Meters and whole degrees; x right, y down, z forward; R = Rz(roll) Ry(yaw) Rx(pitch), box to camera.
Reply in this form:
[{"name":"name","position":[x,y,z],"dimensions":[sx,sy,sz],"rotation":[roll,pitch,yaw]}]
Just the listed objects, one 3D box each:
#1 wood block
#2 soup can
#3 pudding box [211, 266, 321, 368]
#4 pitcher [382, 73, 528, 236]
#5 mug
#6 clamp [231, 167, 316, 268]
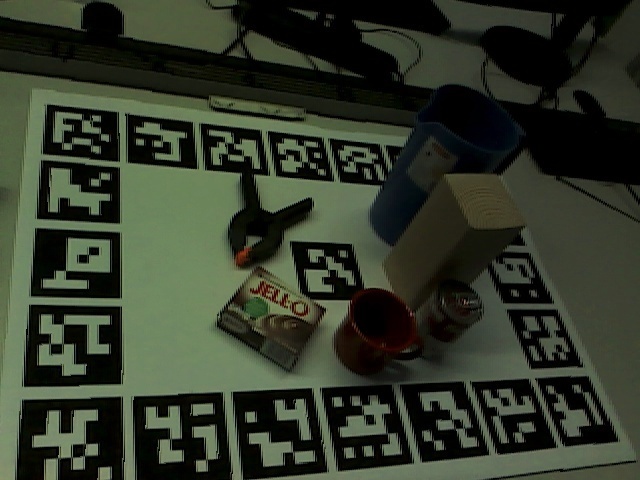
[{"name":"wood block","position":[0.180,-0.003,0.841],"dimensions":[0.089,0.206,0.091],"rotation":[0,53,-23]},{"name":"soup can","position":[0.167,0.100,0.823],"dimensions":[0.068,0.102,0.068],"rotation":[9,53,-12]},{"name":"pudding box","position":[-0.070,0.098,0.794],"dimensions":[0.114,0.038,0.090],"rotation":[29,52,7]},{"name":"pitcher","position":[0.184,-0.109,0.907],"dimensions":[0.188,0.242,0.134],"rotation":[-2,51,-16]},{"name":"mug","position":[0.080,0.122,0.791],"dimensions":[0.117,0.081,0.093],"rotation":[28,47,6]},{"name":"clamp","position":[-0.081,-0.027,0.898],"dimensions":[0.122,0.036,0.165],"rotation":[27,49,-5]}]
